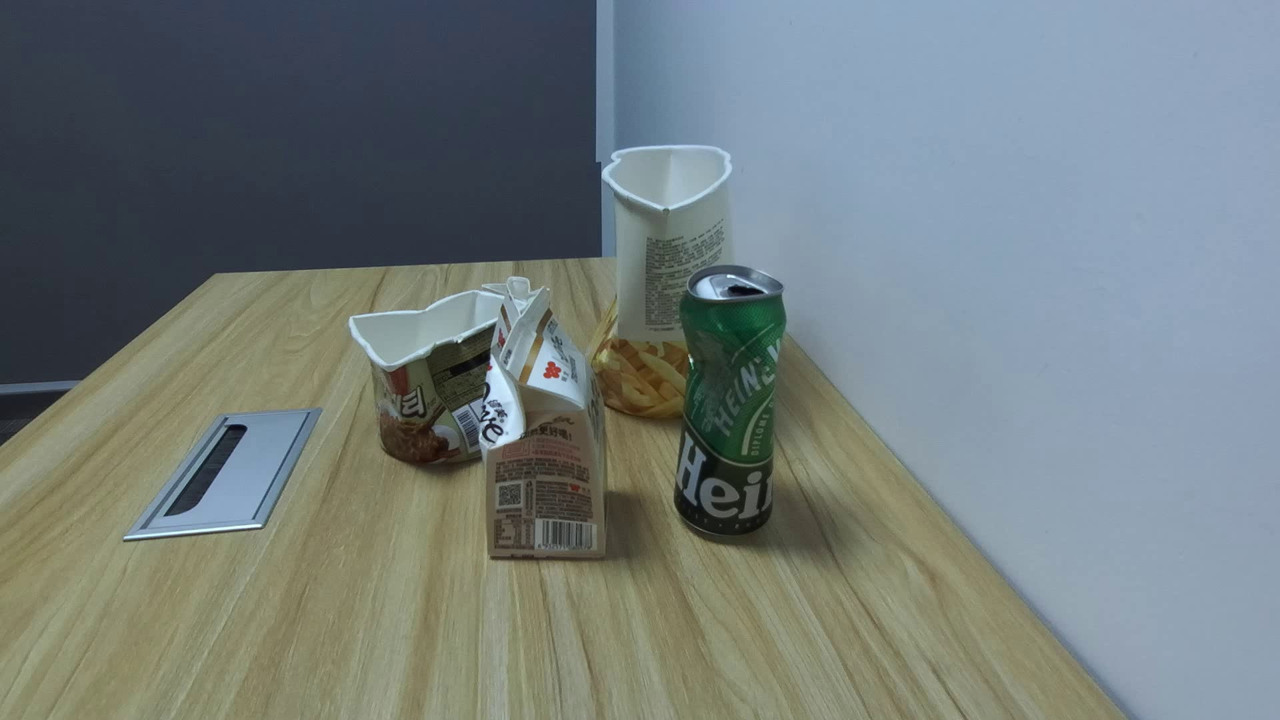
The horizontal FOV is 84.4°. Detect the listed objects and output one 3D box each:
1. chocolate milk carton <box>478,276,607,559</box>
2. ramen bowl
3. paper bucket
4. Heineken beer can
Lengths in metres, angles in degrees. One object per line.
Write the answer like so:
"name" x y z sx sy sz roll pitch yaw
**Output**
"chocolate milk carton" -0.059 0.036 0.428 0.073 0.156 0.076 -1 25 1
"ramen bowl" -0.149 0.012 0.557 0.129 0.093 0.111 -19 32 -33
"paper bucket" 0.020 -0.070 0.598 0.148 0.199 0.217 -13 27 -25
"Heineken beer can" 0.055 0.027 0.436 0.066 0.164 0.078 7 28 17
